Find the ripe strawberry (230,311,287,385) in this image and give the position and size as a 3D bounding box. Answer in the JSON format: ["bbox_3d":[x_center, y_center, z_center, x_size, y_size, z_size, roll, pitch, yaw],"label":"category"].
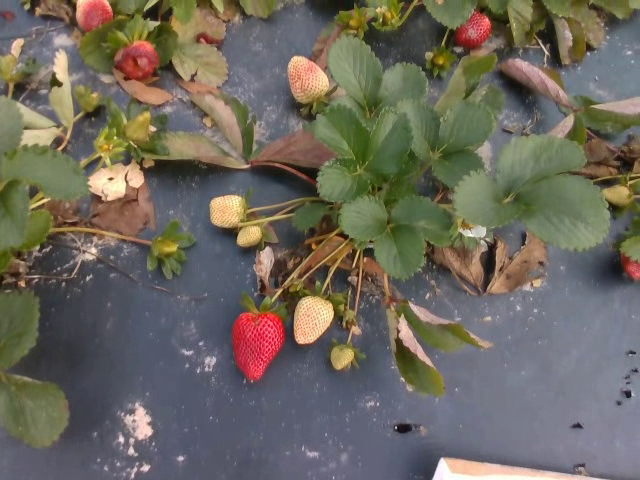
[{"bbox_3d":[-0.048,0.079,0.448,0.050,0.059,0.034,2,-33,-6],"label":"ripe strawberry"}]
